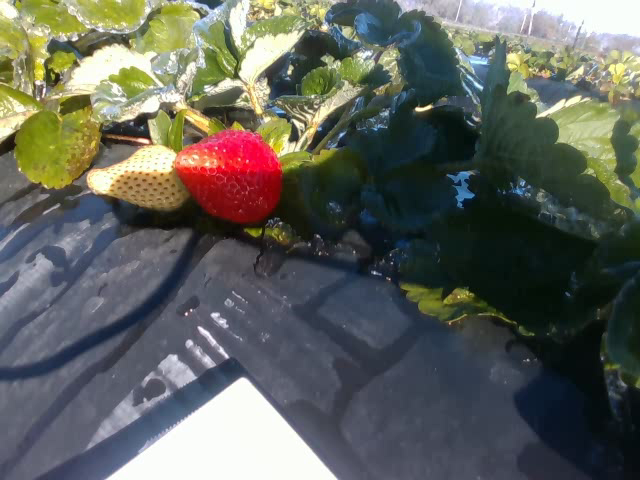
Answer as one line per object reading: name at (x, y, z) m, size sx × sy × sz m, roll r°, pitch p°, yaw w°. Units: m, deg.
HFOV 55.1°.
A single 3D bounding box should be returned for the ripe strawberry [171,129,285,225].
ripe strawberry at (-0.043, -0.026, 0.260) m, size 0.042 × 0.046 × 0.061 m, roll 19°, pitch 9°, yaw 34°
